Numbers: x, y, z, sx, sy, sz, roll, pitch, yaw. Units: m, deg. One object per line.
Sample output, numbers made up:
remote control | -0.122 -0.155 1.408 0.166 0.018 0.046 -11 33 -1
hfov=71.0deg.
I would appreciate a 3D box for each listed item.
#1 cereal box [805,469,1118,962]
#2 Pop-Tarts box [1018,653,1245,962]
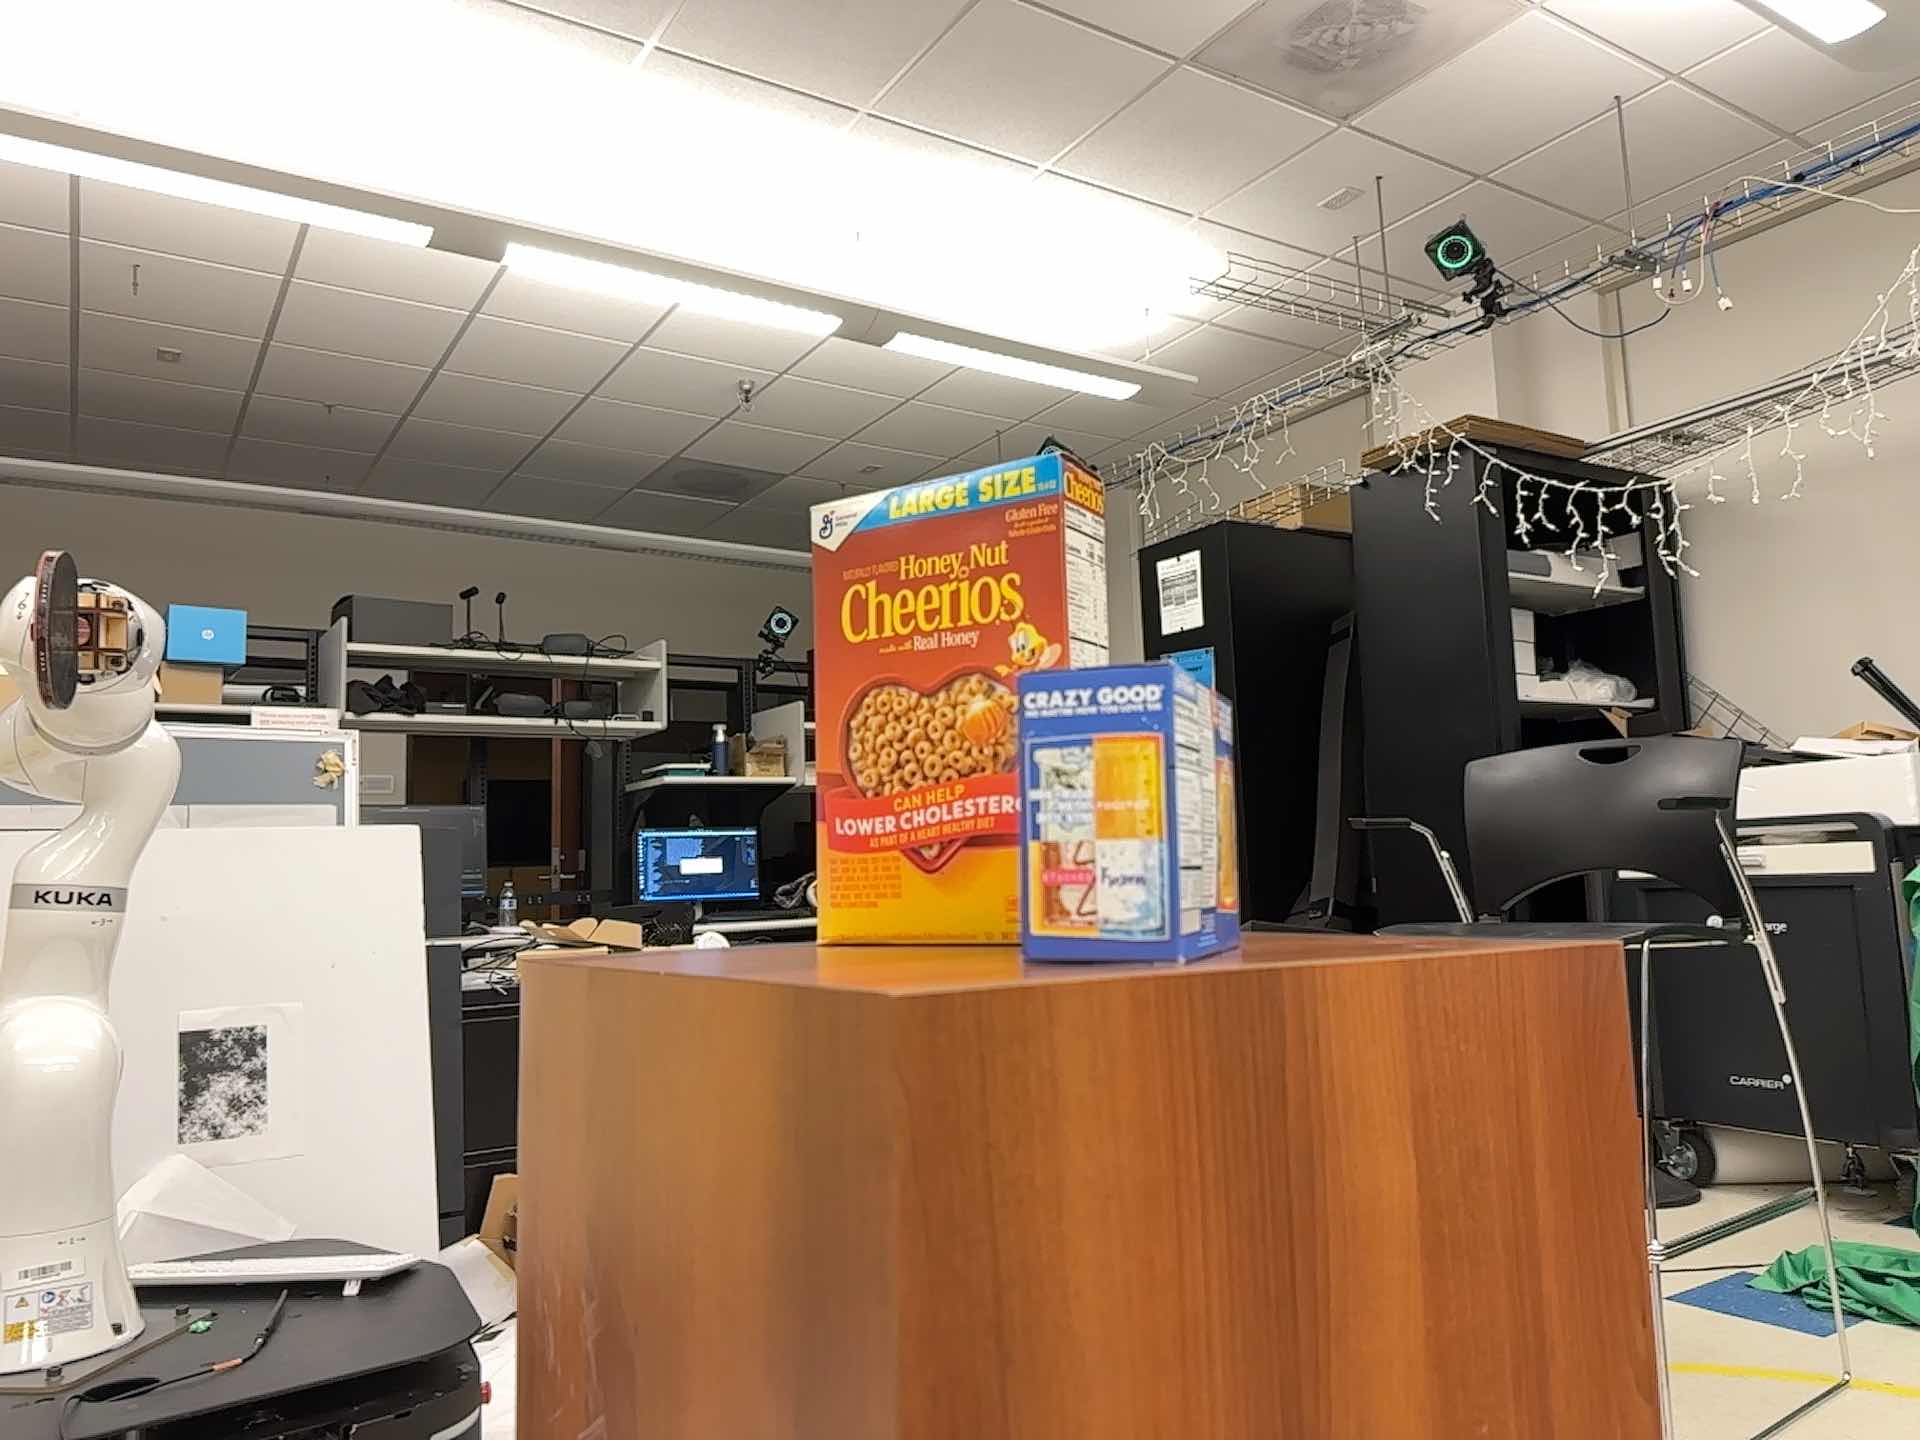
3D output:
cereal box | -0.003 0.004 0.896 0.195 0.297 0.065 -6 -10 28
Pop-Tarts box | 0.092 0.051 0.692 0.075 0.135 0.161 -3 -9 19
